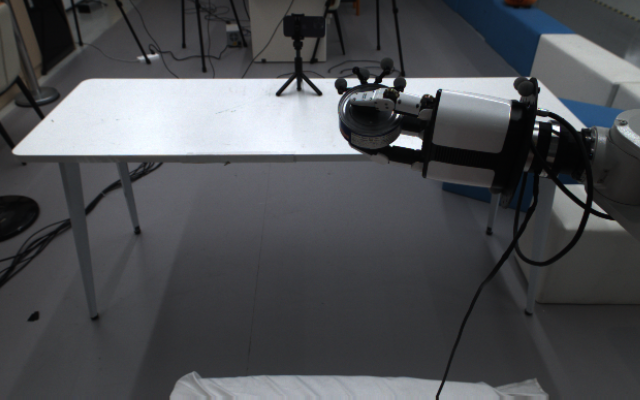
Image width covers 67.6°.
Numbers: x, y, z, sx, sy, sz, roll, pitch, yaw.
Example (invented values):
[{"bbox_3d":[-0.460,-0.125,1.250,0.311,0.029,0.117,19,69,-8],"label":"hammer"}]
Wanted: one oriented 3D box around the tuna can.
[{"bbox_3d":[0.066,-0.110,0.629,0.085,0.034,0.085,-2,58,2],"label":"tuna can"}]
